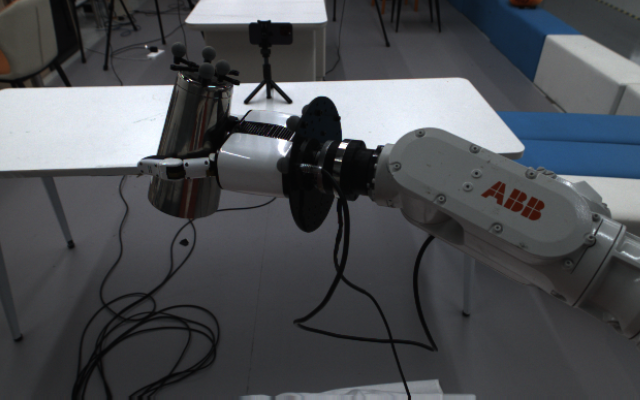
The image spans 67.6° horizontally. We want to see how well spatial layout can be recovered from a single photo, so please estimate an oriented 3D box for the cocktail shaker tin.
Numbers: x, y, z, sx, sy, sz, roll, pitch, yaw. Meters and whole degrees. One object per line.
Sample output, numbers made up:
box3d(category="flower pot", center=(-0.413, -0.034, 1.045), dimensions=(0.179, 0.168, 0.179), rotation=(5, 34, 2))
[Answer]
box3d(category="cocktail shaker tin", center=(-0.157, -0.075, 0.606), dimensions=(0.093, 0.170, 0.093), rotation=(15, 27, -8))
